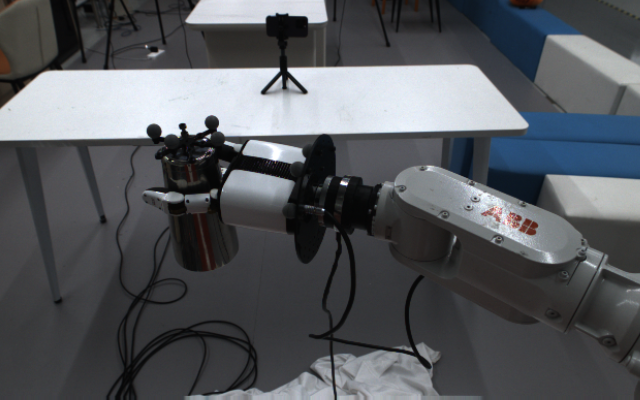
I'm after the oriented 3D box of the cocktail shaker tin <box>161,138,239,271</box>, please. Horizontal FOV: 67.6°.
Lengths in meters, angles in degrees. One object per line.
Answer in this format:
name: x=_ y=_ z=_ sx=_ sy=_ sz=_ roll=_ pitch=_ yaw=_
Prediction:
cocktail shaker tin: x=-0.158 y=0.001 z=0.643 sx=0.093 sy=0.170 sz=0.093 roll=1 pitch=39 yaw=0
